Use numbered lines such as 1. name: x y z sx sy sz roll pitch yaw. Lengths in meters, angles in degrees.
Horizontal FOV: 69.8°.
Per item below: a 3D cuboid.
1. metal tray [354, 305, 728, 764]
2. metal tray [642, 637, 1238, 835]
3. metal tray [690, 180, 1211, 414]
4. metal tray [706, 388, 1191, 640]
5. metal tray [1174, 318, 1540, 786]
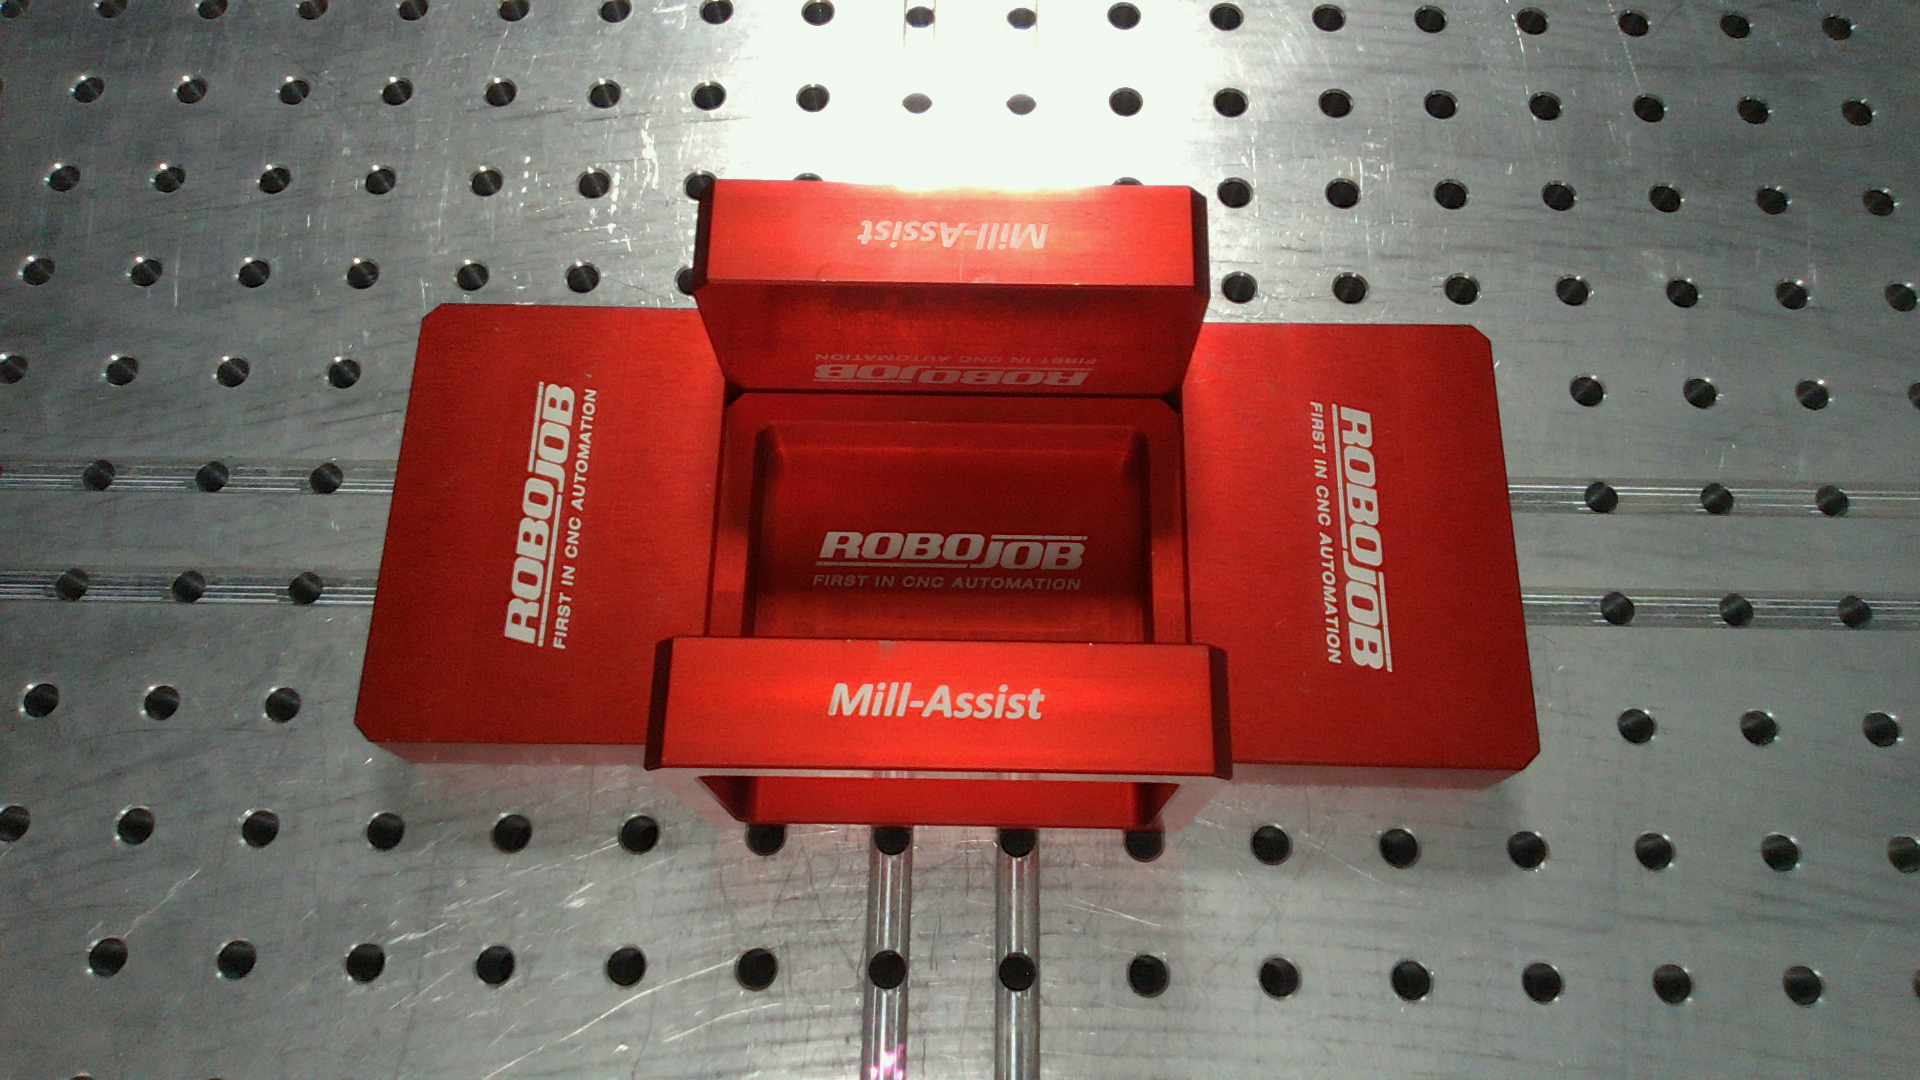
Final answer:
1. metal tray: -0.113 -0.003 0.395 0.090 0.030 0.130 1 70 0
2. metal tray: -0.004 0.051 0.342 0.130 0.090 0.030 1 70 0
3. metal tray: -0.002 -0.062 0.385 0.130 0.090 0.030 1 70 0
4. metal tray: -0.003 0.004 0.390 0.130 0.030 0.090 1 70 0
5. metal tray: 0.107 0.002 0.392 0.090 0.030 0.130 1 70 -1
